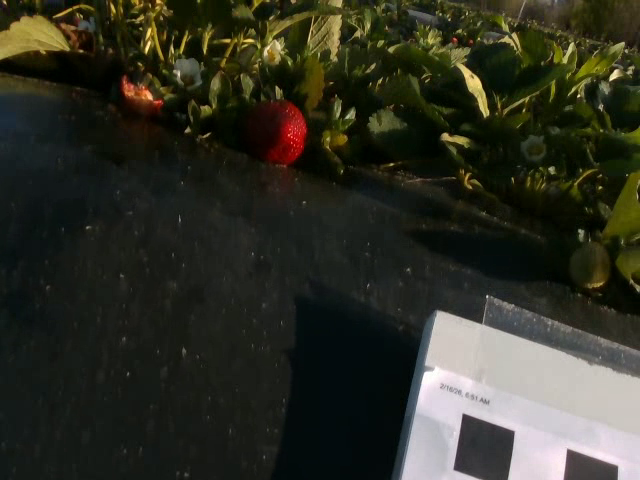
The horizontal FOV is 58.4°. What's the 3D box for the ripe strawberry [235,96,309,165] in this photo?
[{"bbox_3d":[-0.025,-0.068,0.346,0.052,0.041,0.051,-9,10,-11],"label":"ripe strawberry"}]
